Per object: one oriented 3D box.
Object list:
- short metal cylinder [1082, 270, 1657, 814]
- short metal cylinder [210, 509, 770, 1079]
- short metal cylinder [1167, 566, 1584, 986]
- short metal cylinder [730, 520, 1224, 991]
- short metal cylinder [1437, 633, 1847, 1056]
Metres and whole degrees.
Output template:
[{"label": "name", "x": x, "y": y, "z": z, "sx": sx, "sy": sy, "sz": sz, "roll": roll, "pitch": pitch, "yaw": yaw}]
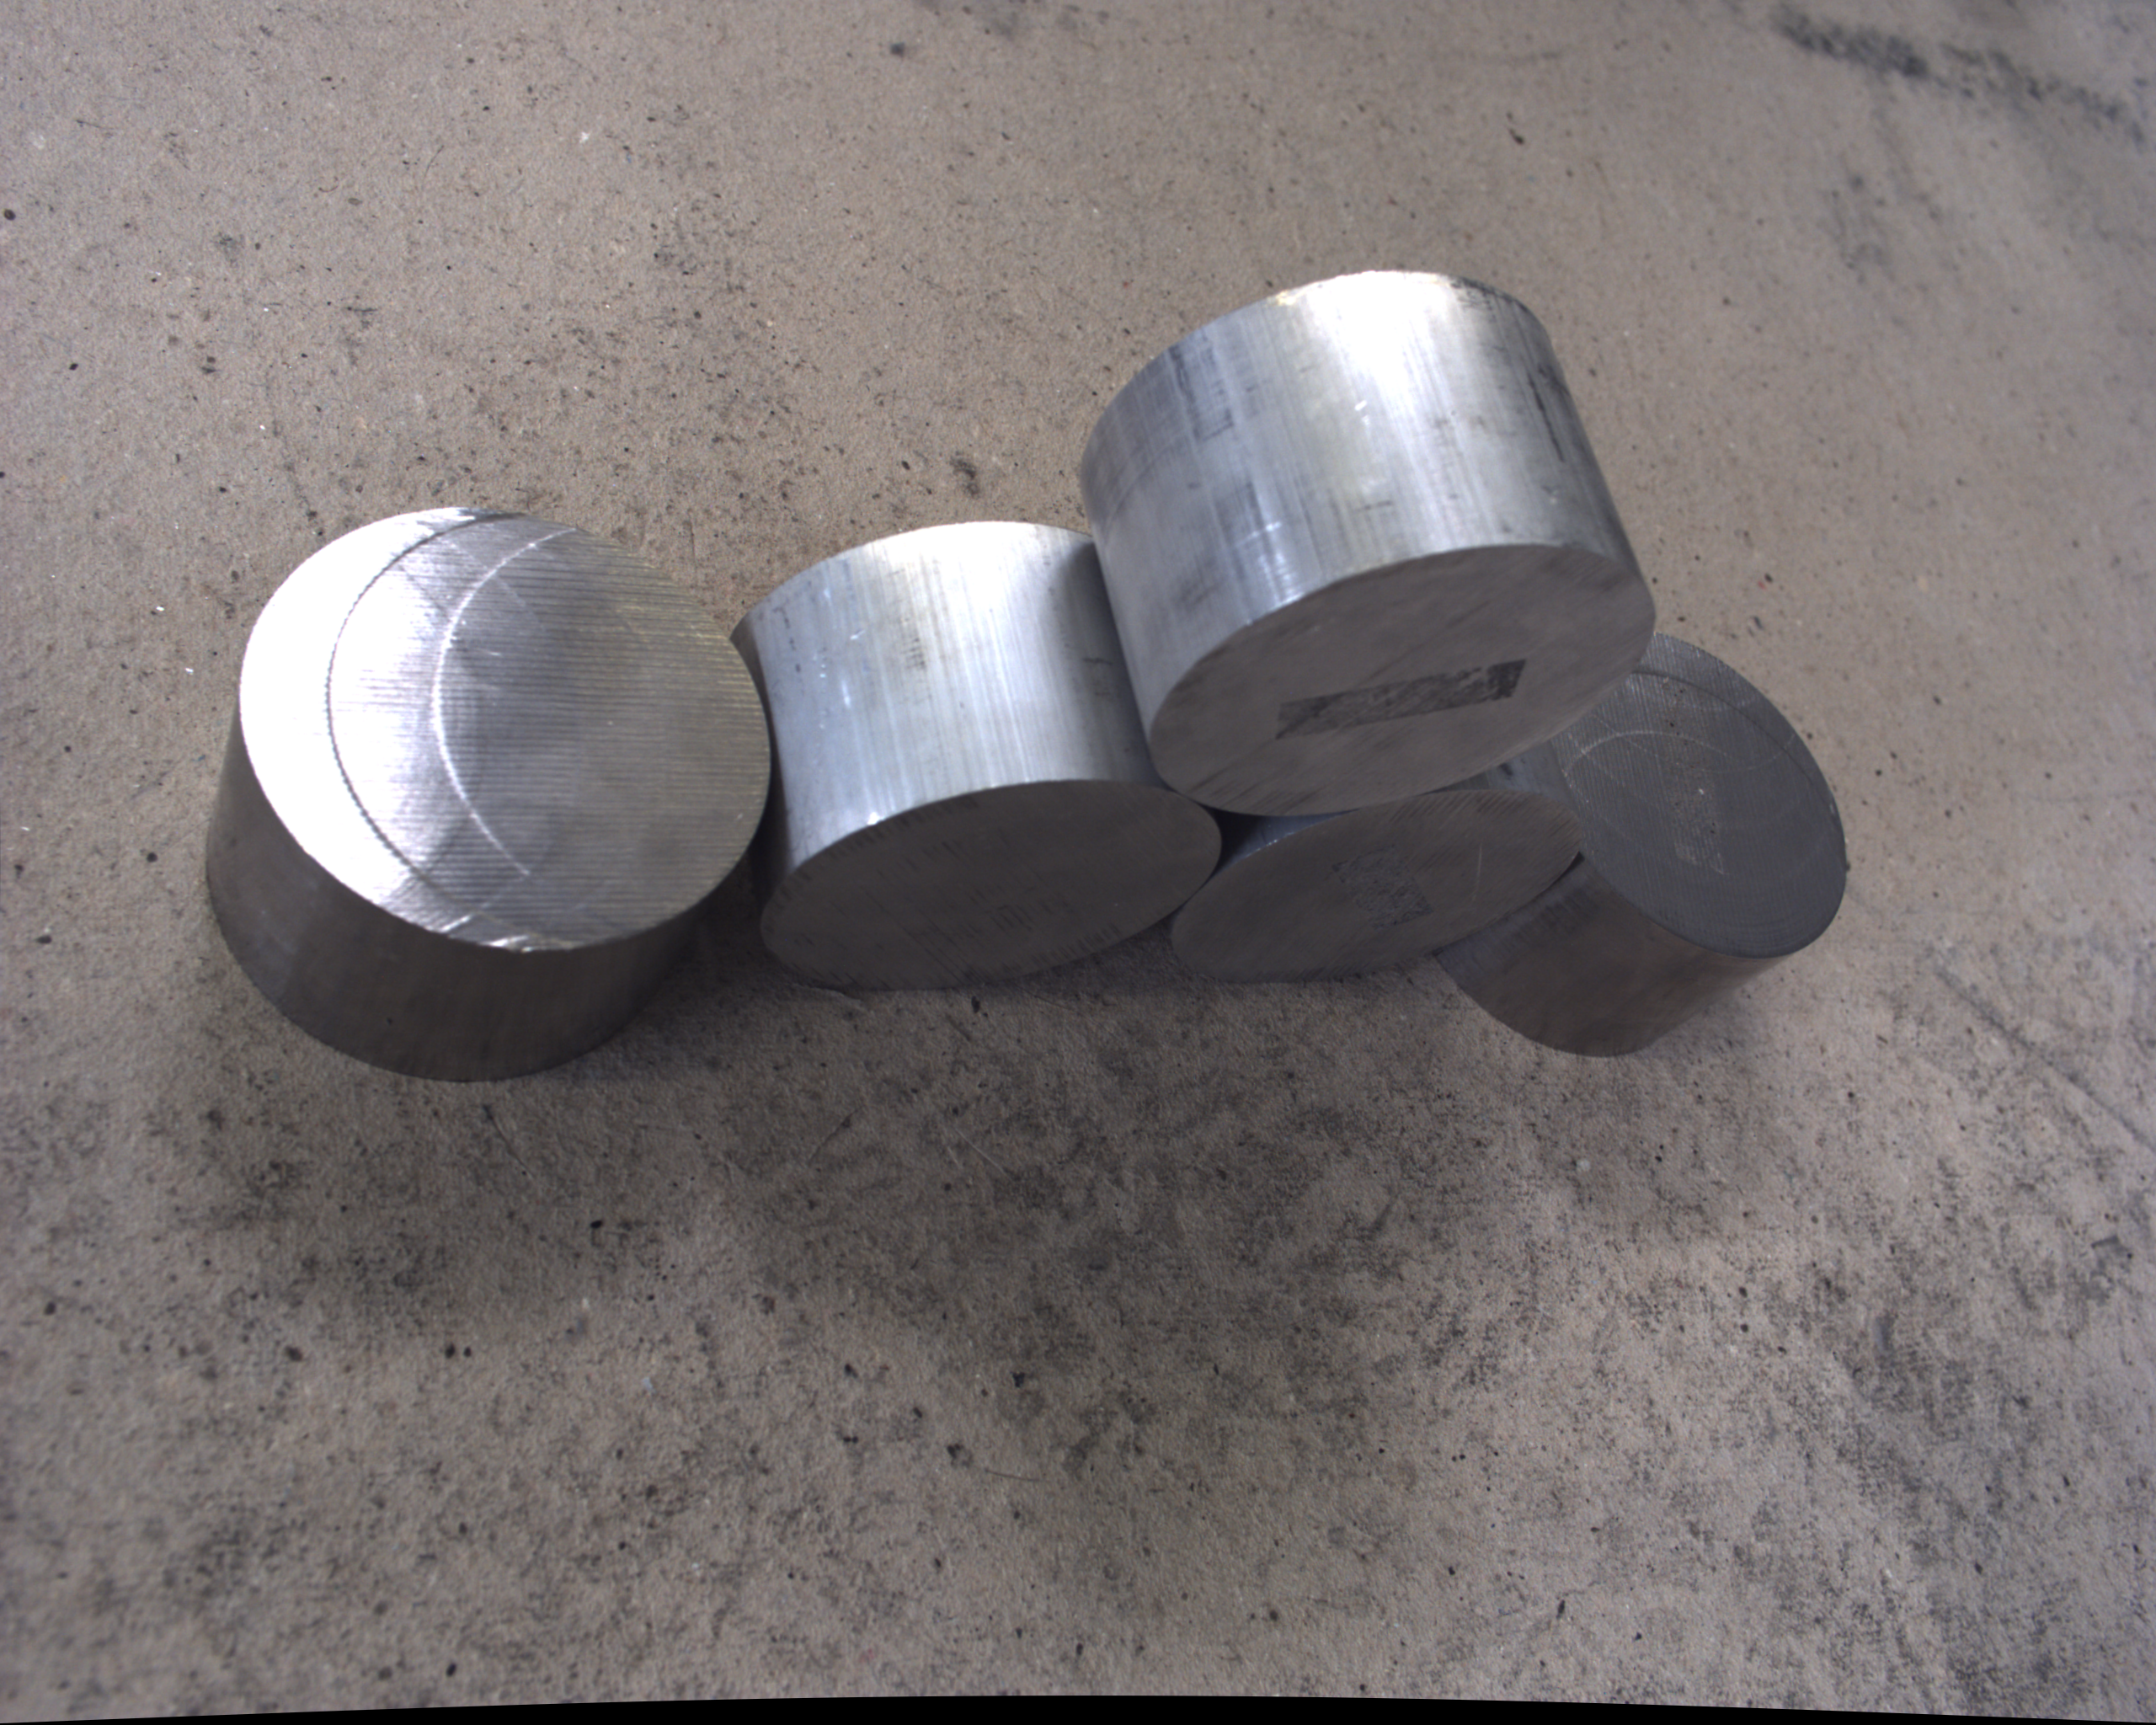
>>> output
[{"label": "short metal cylinder", "x": 0.045, "y": -0.048, "z": 0.335, "sx": 0.081, "sy": 0.080, "sz": 0.050, "roll": 1, "pitch": 63, "yaw": -28}, {"label": "short metal cylinder", "x": -0.097, "y": -0.011, "z": 0.343, "sx": 0.081, "sy": 0.050, "sz": 0.080, "roll": 14, "pitch": 56, "yaw": -21}, {"label": "short metal cylinder", "x": 0.051, "y": -0.016, "z": 0.408, "sx": 0.081, "sy": 0.080, "sz": 0.050, "roll": 0, "pitch": 61, "yaw": -28}, {"label": "short metal cylinder", "x": -0.019, "y": -0.017, "z": 0.369, "sx": 0.081, "sy": 0.080, "sz": 0.050, "roll": 0, "pitch": 62, "yaw": -28}, {"label": "short metal cylinder", "x": 0.118, "y": -0.004, "z": 0.454, "sx": 0.081, "sy": 0.050, "sz": 0.080, "roll": 14, "pitch": 56, "yaw": -21}]
